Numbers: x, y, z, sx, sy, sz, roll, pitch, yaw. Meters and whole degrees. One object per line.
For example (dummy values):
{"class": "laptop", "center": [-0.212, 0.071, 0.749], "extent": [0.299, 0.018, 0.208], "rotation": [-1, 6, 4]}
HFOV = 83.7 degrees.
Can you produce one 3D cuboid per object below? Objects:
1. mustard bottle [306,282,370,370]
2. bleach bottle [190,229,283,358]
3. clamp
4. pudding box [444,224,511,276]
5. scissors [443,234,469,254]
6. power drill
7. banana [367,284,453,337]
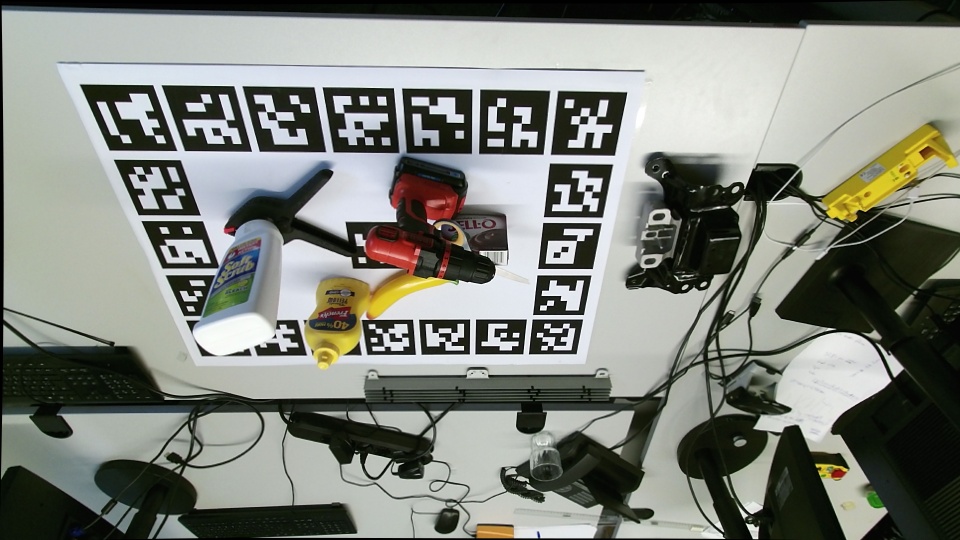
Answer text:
{"class": "mustard bottle", "center": [-0.253, 0.101, 0.933], "extent": [0.096, 0.190, 0.058], "rotation": [12, 126, -10]}
{"class": "bleach bottle", "center": [-0.356, 0.016, 0.806], "extent": [0.103, 0.249, 0.068], "rotation": [-19, 130, 3]}
{"class": "clamp", "center": [-0.323, -0.059, 0.881], "extent": [0.203, 0.036, 0.165], "rotation": [-4, 125, 3]}
{"class": "pudding box", "center": [-0.007, -0.034, 0.896], "extent": [0.114, 0.089, 0.038], "rotation": [4, 133, -4]}
{"class": "scissors", "center": [0.004, 0.010, 0.850], "extent": [0.203, 0.016, 0.088], "rotation": [24, 119, -13]}
{"class": "power drill", "center": [-0.061, -0.055, 0.782], "extent": [0.185, 0.186, 0.057], "rotation": [10, 133, -13]}
{"class": "banana", "center": [-0.147, 0.074, 0.998], "extent": [0.198, 0.038, 0.074], "rotation": [-32, 138, 20]}
